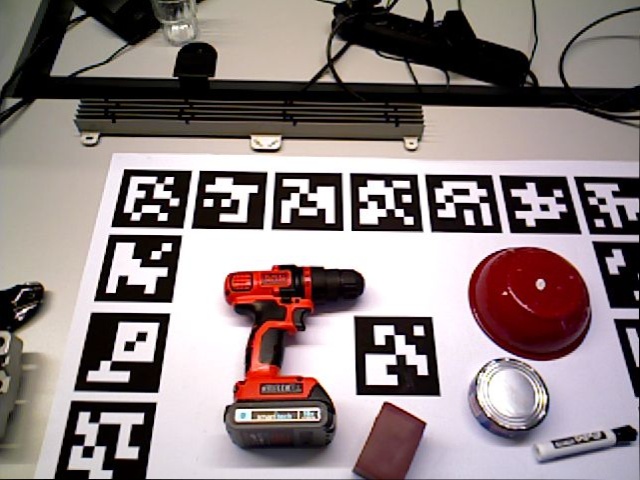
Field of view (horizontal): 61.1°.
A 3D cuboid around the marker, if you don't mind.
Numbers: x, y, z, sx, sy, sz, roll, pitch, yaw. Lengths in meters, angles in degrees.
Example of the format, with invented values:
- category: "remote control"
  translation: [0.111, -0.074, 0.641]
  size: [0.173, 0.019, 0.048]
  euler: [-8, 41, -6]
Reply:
- category: "marker"
  translation: [0.305, 0.228, 0.601]
  size: [0.120, 0.020, 0.019]
  euler: [-7, 62, -5]

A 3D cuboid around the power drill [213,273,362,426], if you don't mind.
- category: "power drill"
  translation: [-0.037, 0.125, 0.637]
  size: [0.183, 0.058, 0.184]
  euler: [2, 58, -4]

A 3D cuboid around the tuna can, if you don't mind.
- category: "tuna can"
  translation: [0.221, 0.178, 0.620]
  size: [0.085, 0.034, 0.084]
  euler: [1, 61, -3]

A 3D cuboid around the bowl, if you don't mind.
- category: "bowl"
  translation: [0.271, 0.067, 0.683]
  size: [0.161, 0.056, 0.159]
  euler: [-2, 54, 1]

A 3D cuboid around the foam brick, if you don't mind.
- category: "foam brick"
  translation: [0.077, 0.227, 0.588]
  size: [0.051, 0.054, 0.077]
  euler: [23, 64, 9]
